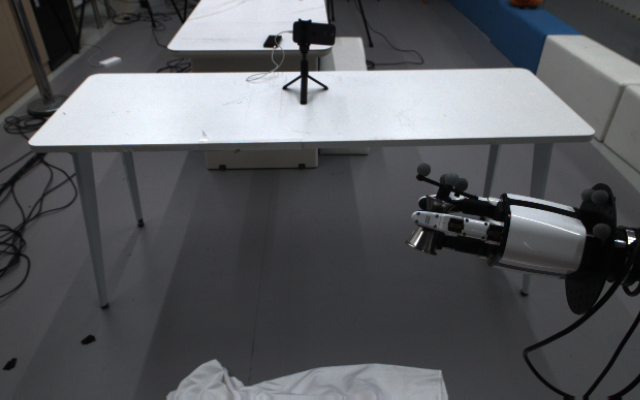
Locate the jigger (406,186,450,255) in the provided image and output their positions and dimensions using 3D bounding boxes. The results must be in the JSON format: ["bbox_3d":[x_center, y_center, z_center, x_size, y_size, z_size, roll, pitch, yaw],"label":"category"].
[{"bbox_3d":[0.140,0.030,0.619,0.043,0.071,0.043,22,6,-2],"label":"jigger"}]
